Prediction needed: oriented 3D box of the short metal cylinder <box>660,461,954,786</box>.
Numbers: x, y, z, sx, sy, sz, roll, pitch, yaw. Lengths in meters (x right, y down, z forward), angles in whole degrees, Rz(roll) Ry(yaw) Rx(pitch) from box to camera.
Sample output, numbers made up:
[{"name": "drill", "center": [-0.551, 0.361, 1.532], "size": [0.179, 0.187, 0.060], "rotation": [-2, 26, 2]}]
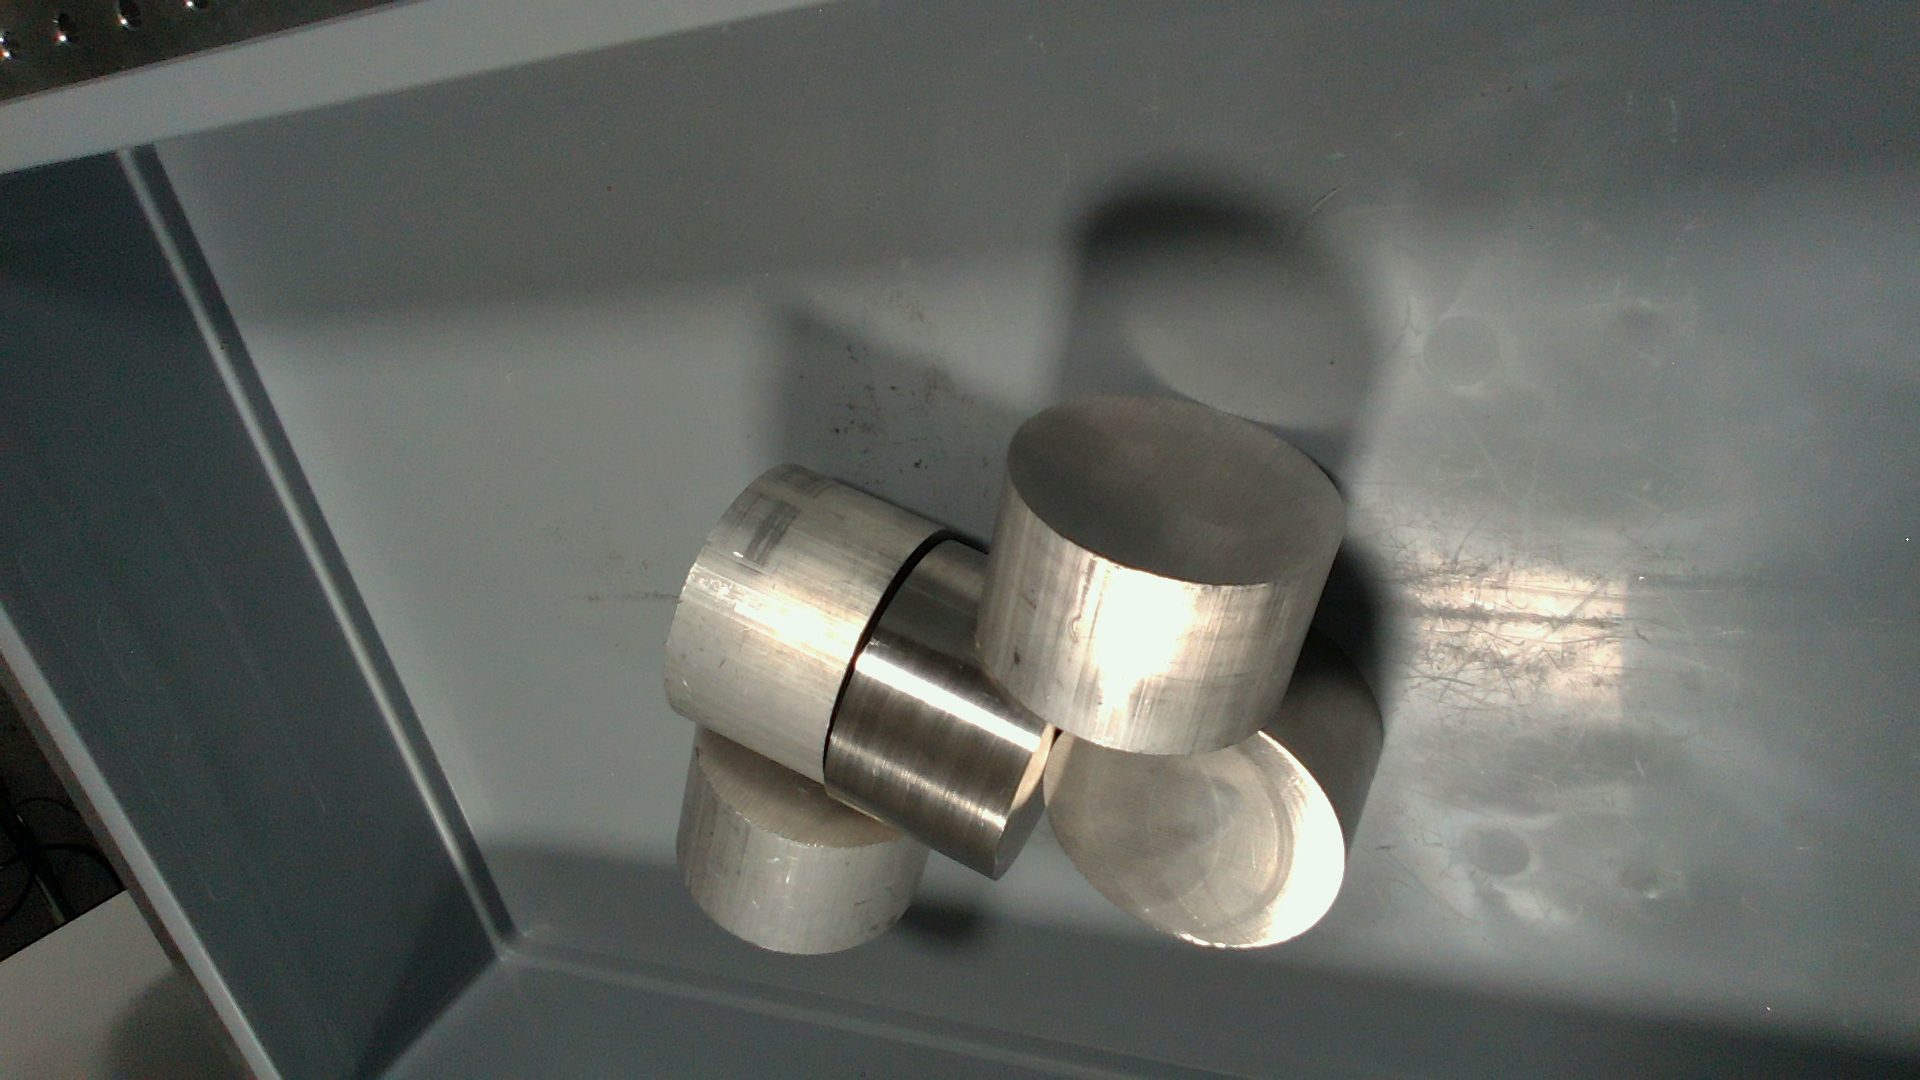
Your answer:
[{"name": "short metal cylinder", "center": [-0.041, 0.024, 0.393], "size": [0.050, 0.080, 0.080], "rotation": [23, 127, 14]}]

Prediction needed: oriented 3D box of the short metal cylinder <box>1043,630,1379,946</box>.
[{"name": "short metal cylinder", "center": [0.069, 0.063, 0.376], "size": [0.080, 0.050, 0.080], "rotation": [13, 124, 21]}]

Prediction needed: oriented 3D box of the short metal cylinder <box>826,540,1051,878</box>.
[{"name": "short metal cylinder", "center": [0.005, 0.046, 0.382], "size": [0.050, 0.080, 0.080], "rotation": [24, 127, 14]}]

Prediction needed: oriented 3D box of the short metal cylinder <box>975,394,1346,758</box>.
[{"name": "short metal cylinder", "center": [0.047, 0.006, 0.335], "size": [0.080, 0.080, 0.050], "rotation": [21, 127, 16]}]

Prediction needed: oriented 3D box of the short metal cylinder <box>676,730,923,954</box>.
[{"name": "short metal cylinder", "center": [-0.046, 0.080, 0.430], "size": [0.080, 0.080, 0.050], "rotation": [26, 128, 12]}]
